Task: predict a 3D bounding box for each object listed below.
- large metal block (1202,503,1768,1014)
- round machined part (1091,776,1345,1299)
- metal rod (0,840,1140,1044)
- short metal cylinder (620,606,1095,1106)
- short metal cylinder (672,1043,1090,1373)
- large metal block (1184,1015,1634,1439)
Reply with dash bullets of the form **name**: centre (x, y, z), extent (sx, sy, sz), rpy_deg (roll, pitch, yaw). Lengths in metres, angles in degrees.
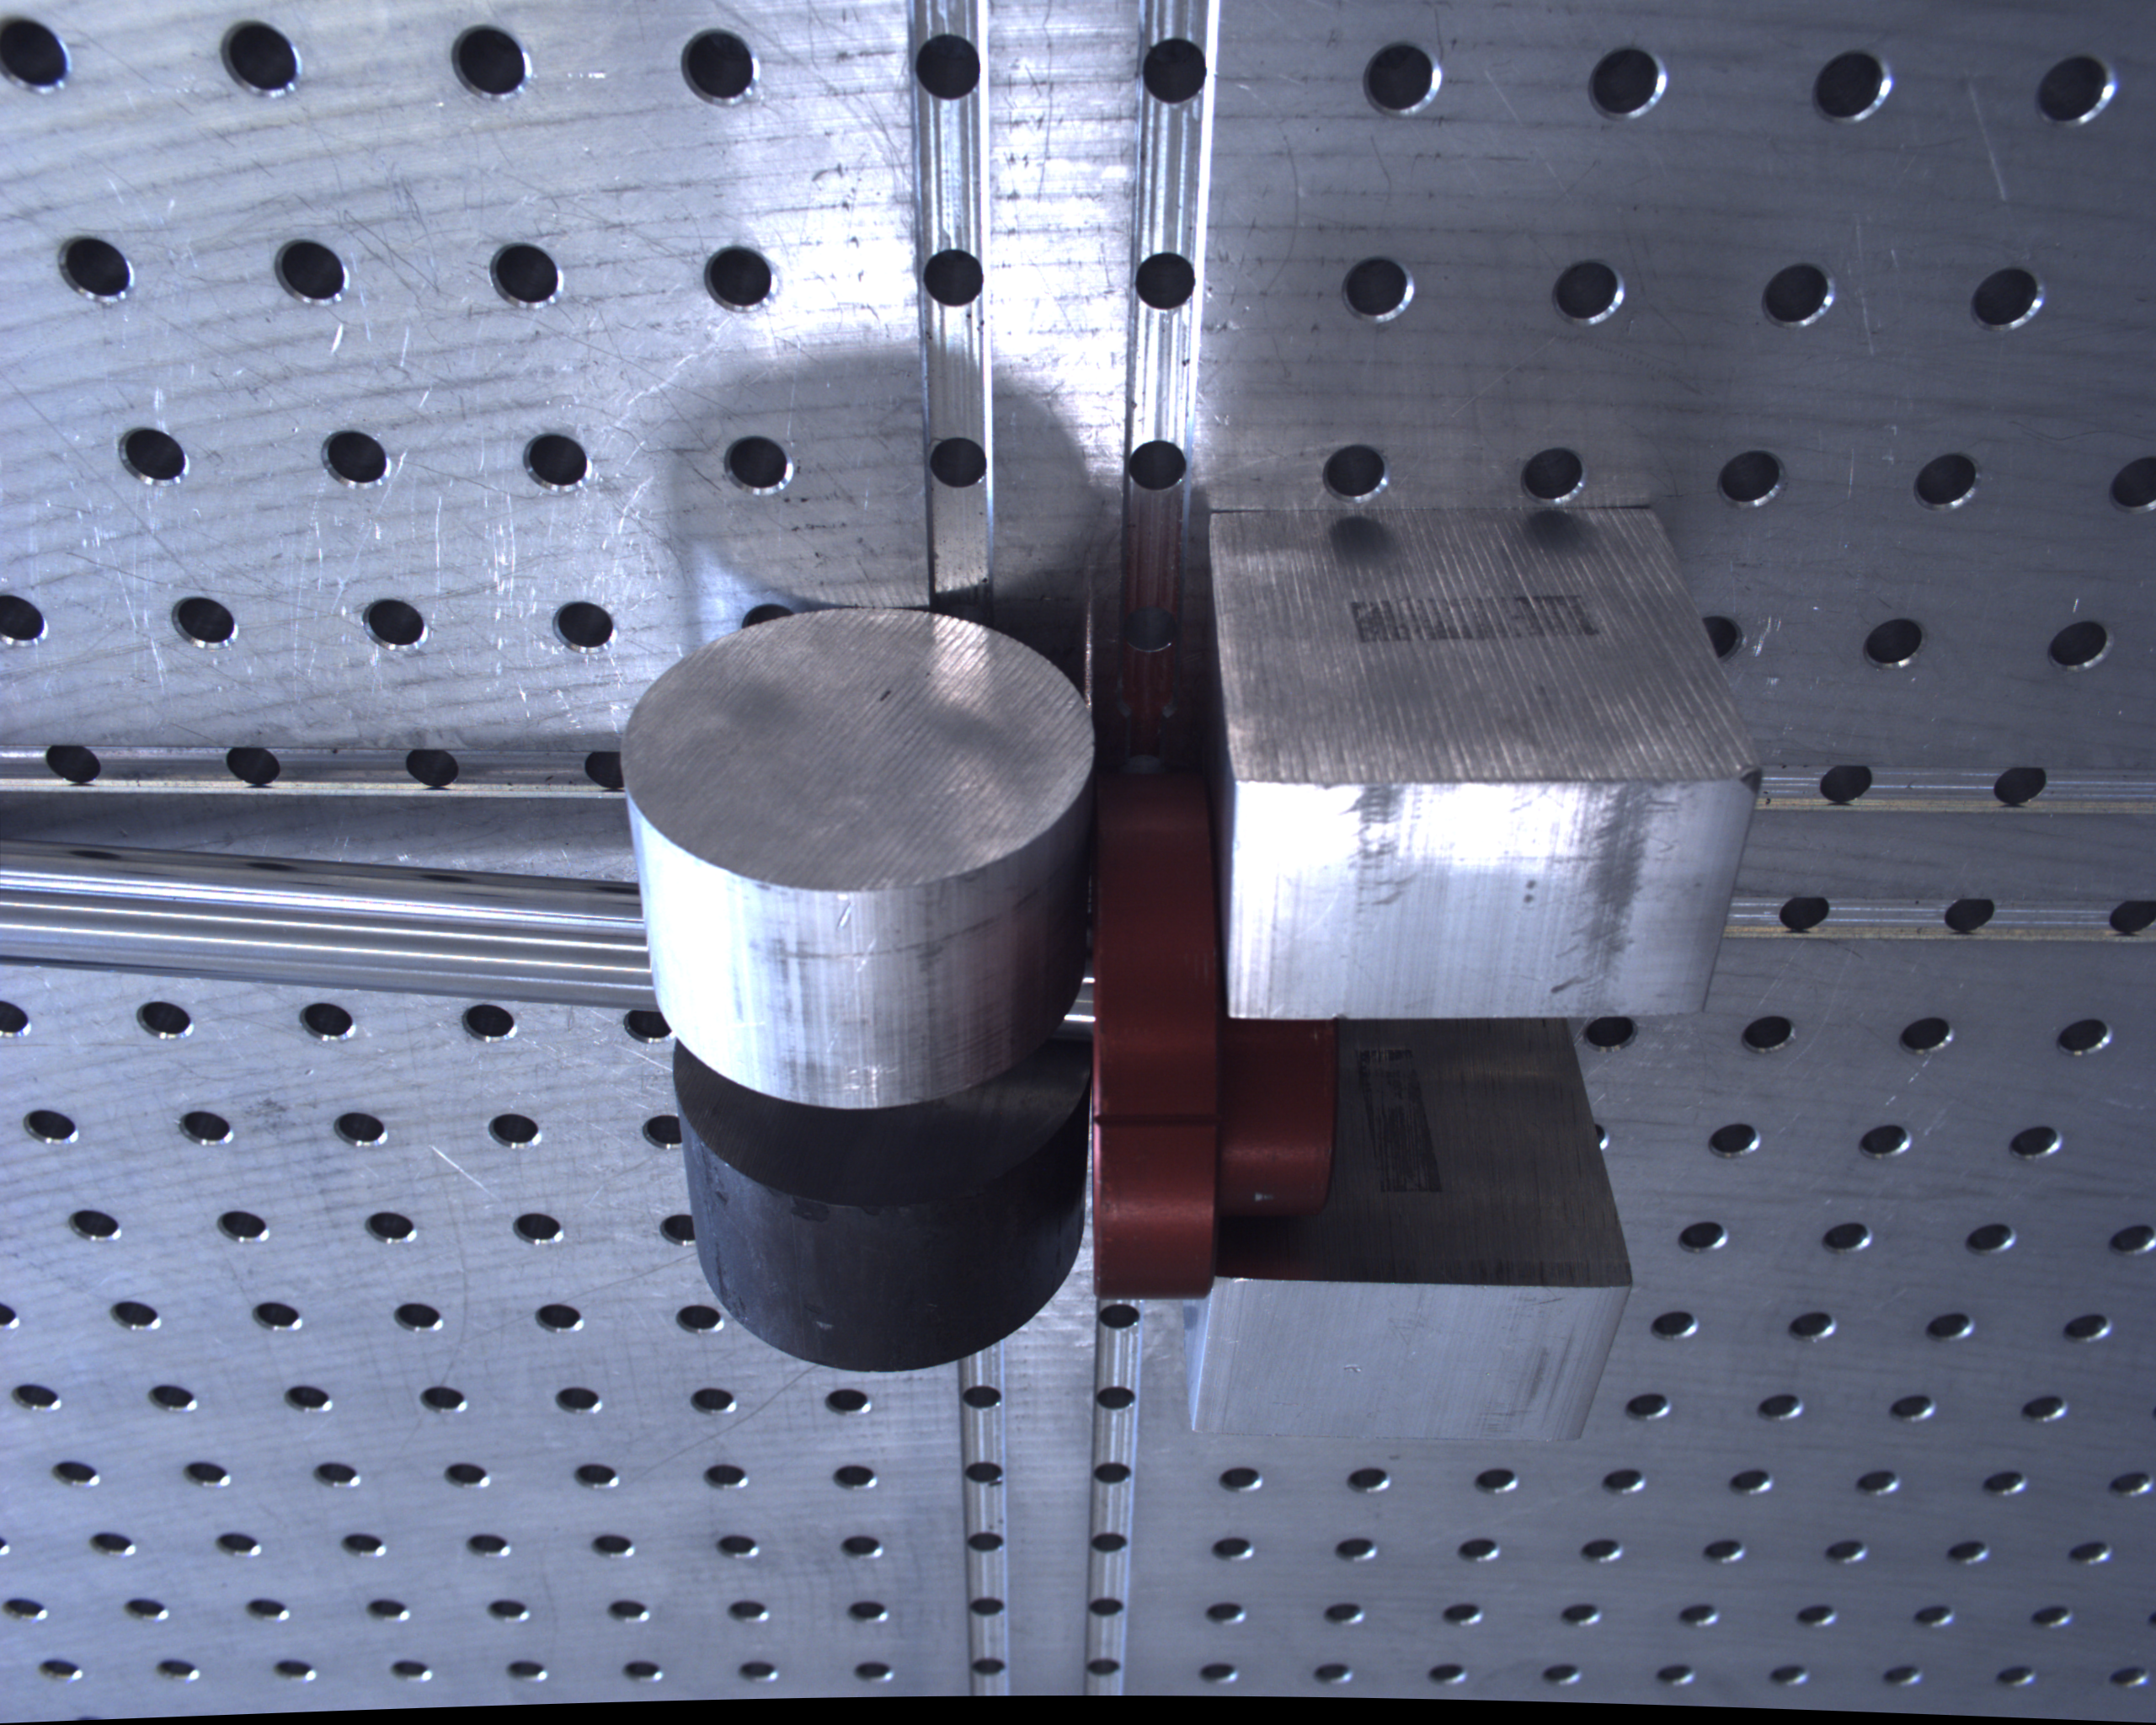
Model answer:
- **large metal block**: centre (0.064, -0.020, 0.360), extent (0.081, 0.080, 0.050), rpy_deg (0, 130, 0)
- **round machined part**: centre (0.024, 0.032, 0.391), extent (0.042, 0.098, 0.097), rpy_deg (1, 130, -1)
- **metal rod**: centre (-0.121, 0.014, 0.407), extent (0.302, 0.025, 0.025), rpy_deg (4, 130, 1)
- **short metal cylinder**: centre (-0.038, -0.003, 0.373), extent (0.081, 0.080, 0.050), rpy_deg (1, 131, -1)
- **short metal cylinder**: centre (-0.038, 0.055, 0.421), extent (0.081, 0.080, 0.050), rpy_deg (1, 131, -1)
- **large metal block**: centre (0.063, 0.071, 0.438), extent (0.081, 0.080, 0.050), rpy_deg (2, 130, -2)
